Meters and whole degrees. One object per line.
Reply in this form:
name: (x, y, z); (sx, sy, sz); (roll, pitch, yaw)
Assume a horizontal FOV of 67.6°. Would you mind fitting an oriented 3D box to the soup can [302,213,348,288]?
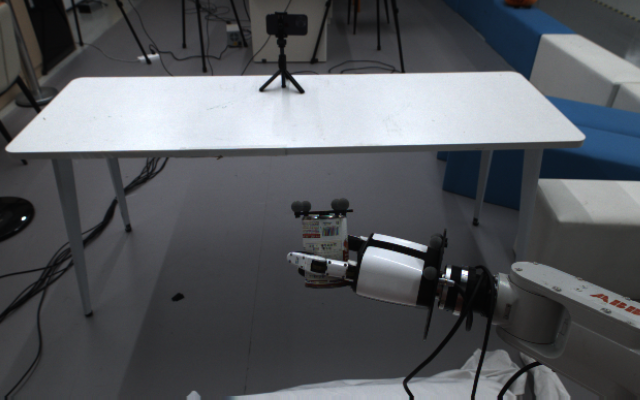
soup can: (0.010, 0.074, 0.705); (0.067, 0.101, 0.067); (-3, -1, 0)
